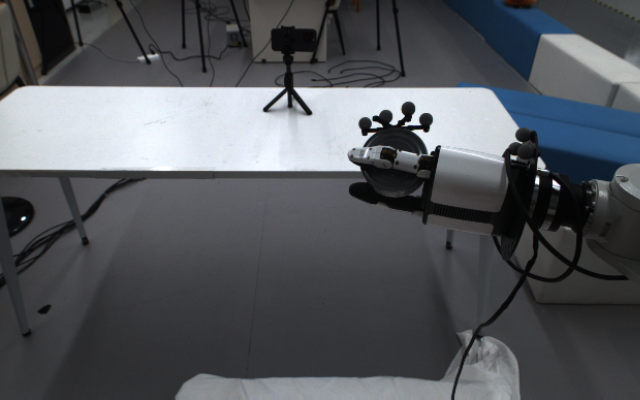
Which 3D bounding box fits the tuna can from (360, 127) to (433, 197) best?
[{"bbox_3d":[0.096,-0.048,0.623,0.085,0.034,0.085,-4,73,14],"label":"tuna can"}]
